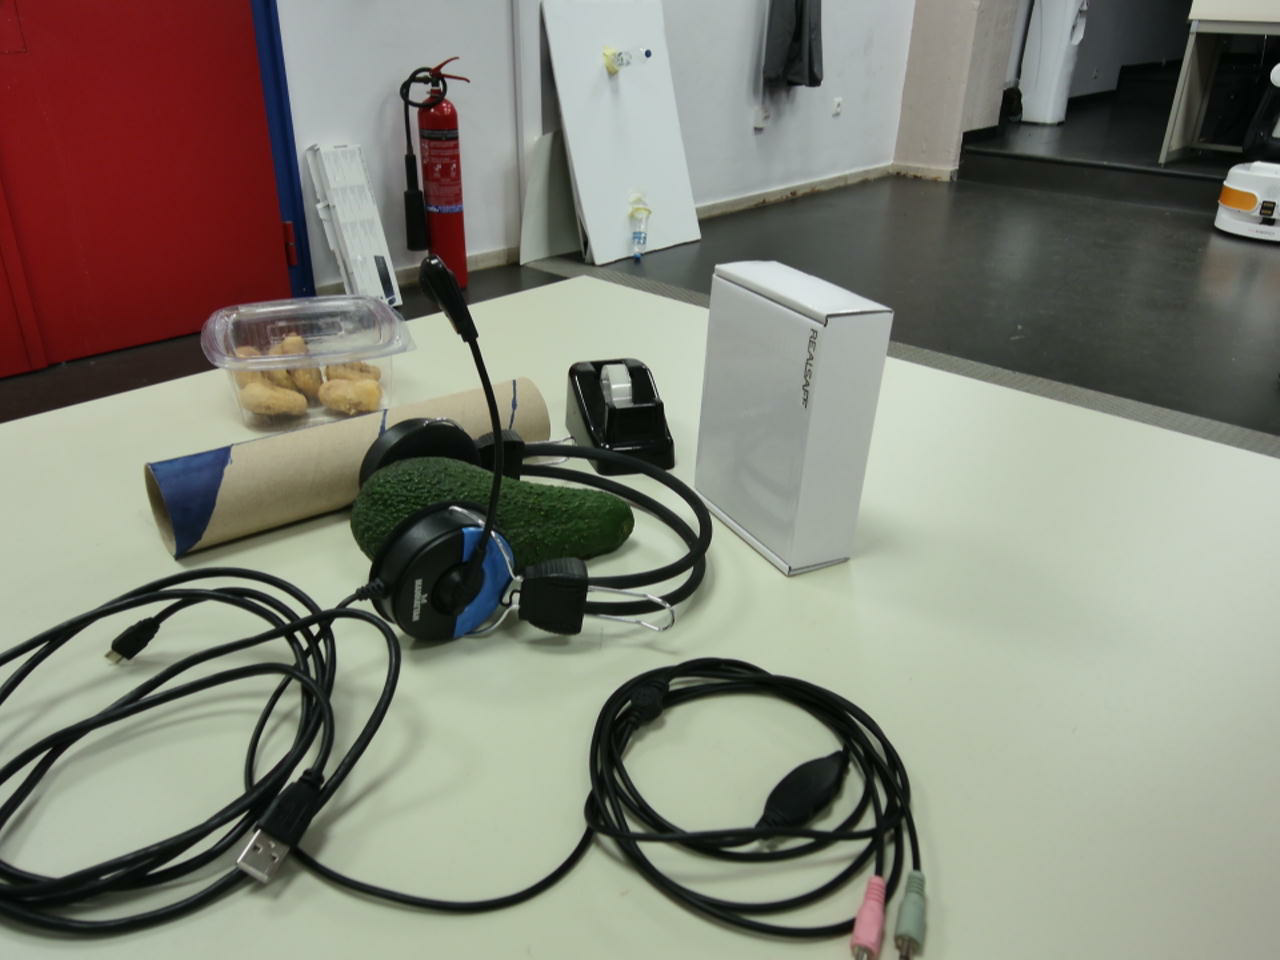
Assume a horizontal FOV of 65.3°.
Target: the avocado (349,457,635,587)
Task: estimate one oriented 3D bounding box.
[{"bbox_3d":[-0.071,0.013,0.495,0.141,0.067,0.063,-15,29,-31],"label":"avocado"}]
